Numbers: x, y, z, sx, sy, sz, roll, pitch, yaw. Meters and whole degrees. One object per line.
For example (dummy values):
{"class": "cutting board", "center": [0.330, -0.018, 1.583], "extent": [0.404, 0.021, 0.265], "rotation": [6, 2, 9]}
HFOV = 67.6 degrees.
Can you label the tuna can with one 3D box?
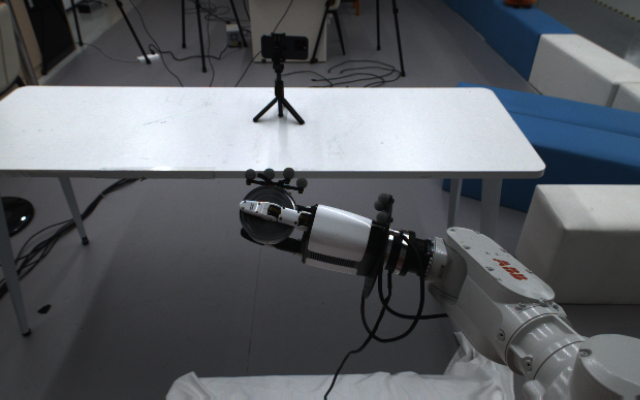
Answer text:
{"class": "tuna can", "center": [-0.076, 0.022, 0.724], "extent": [0.085, 0.034, 0.085], "rotation": [1, 73, -3]}
